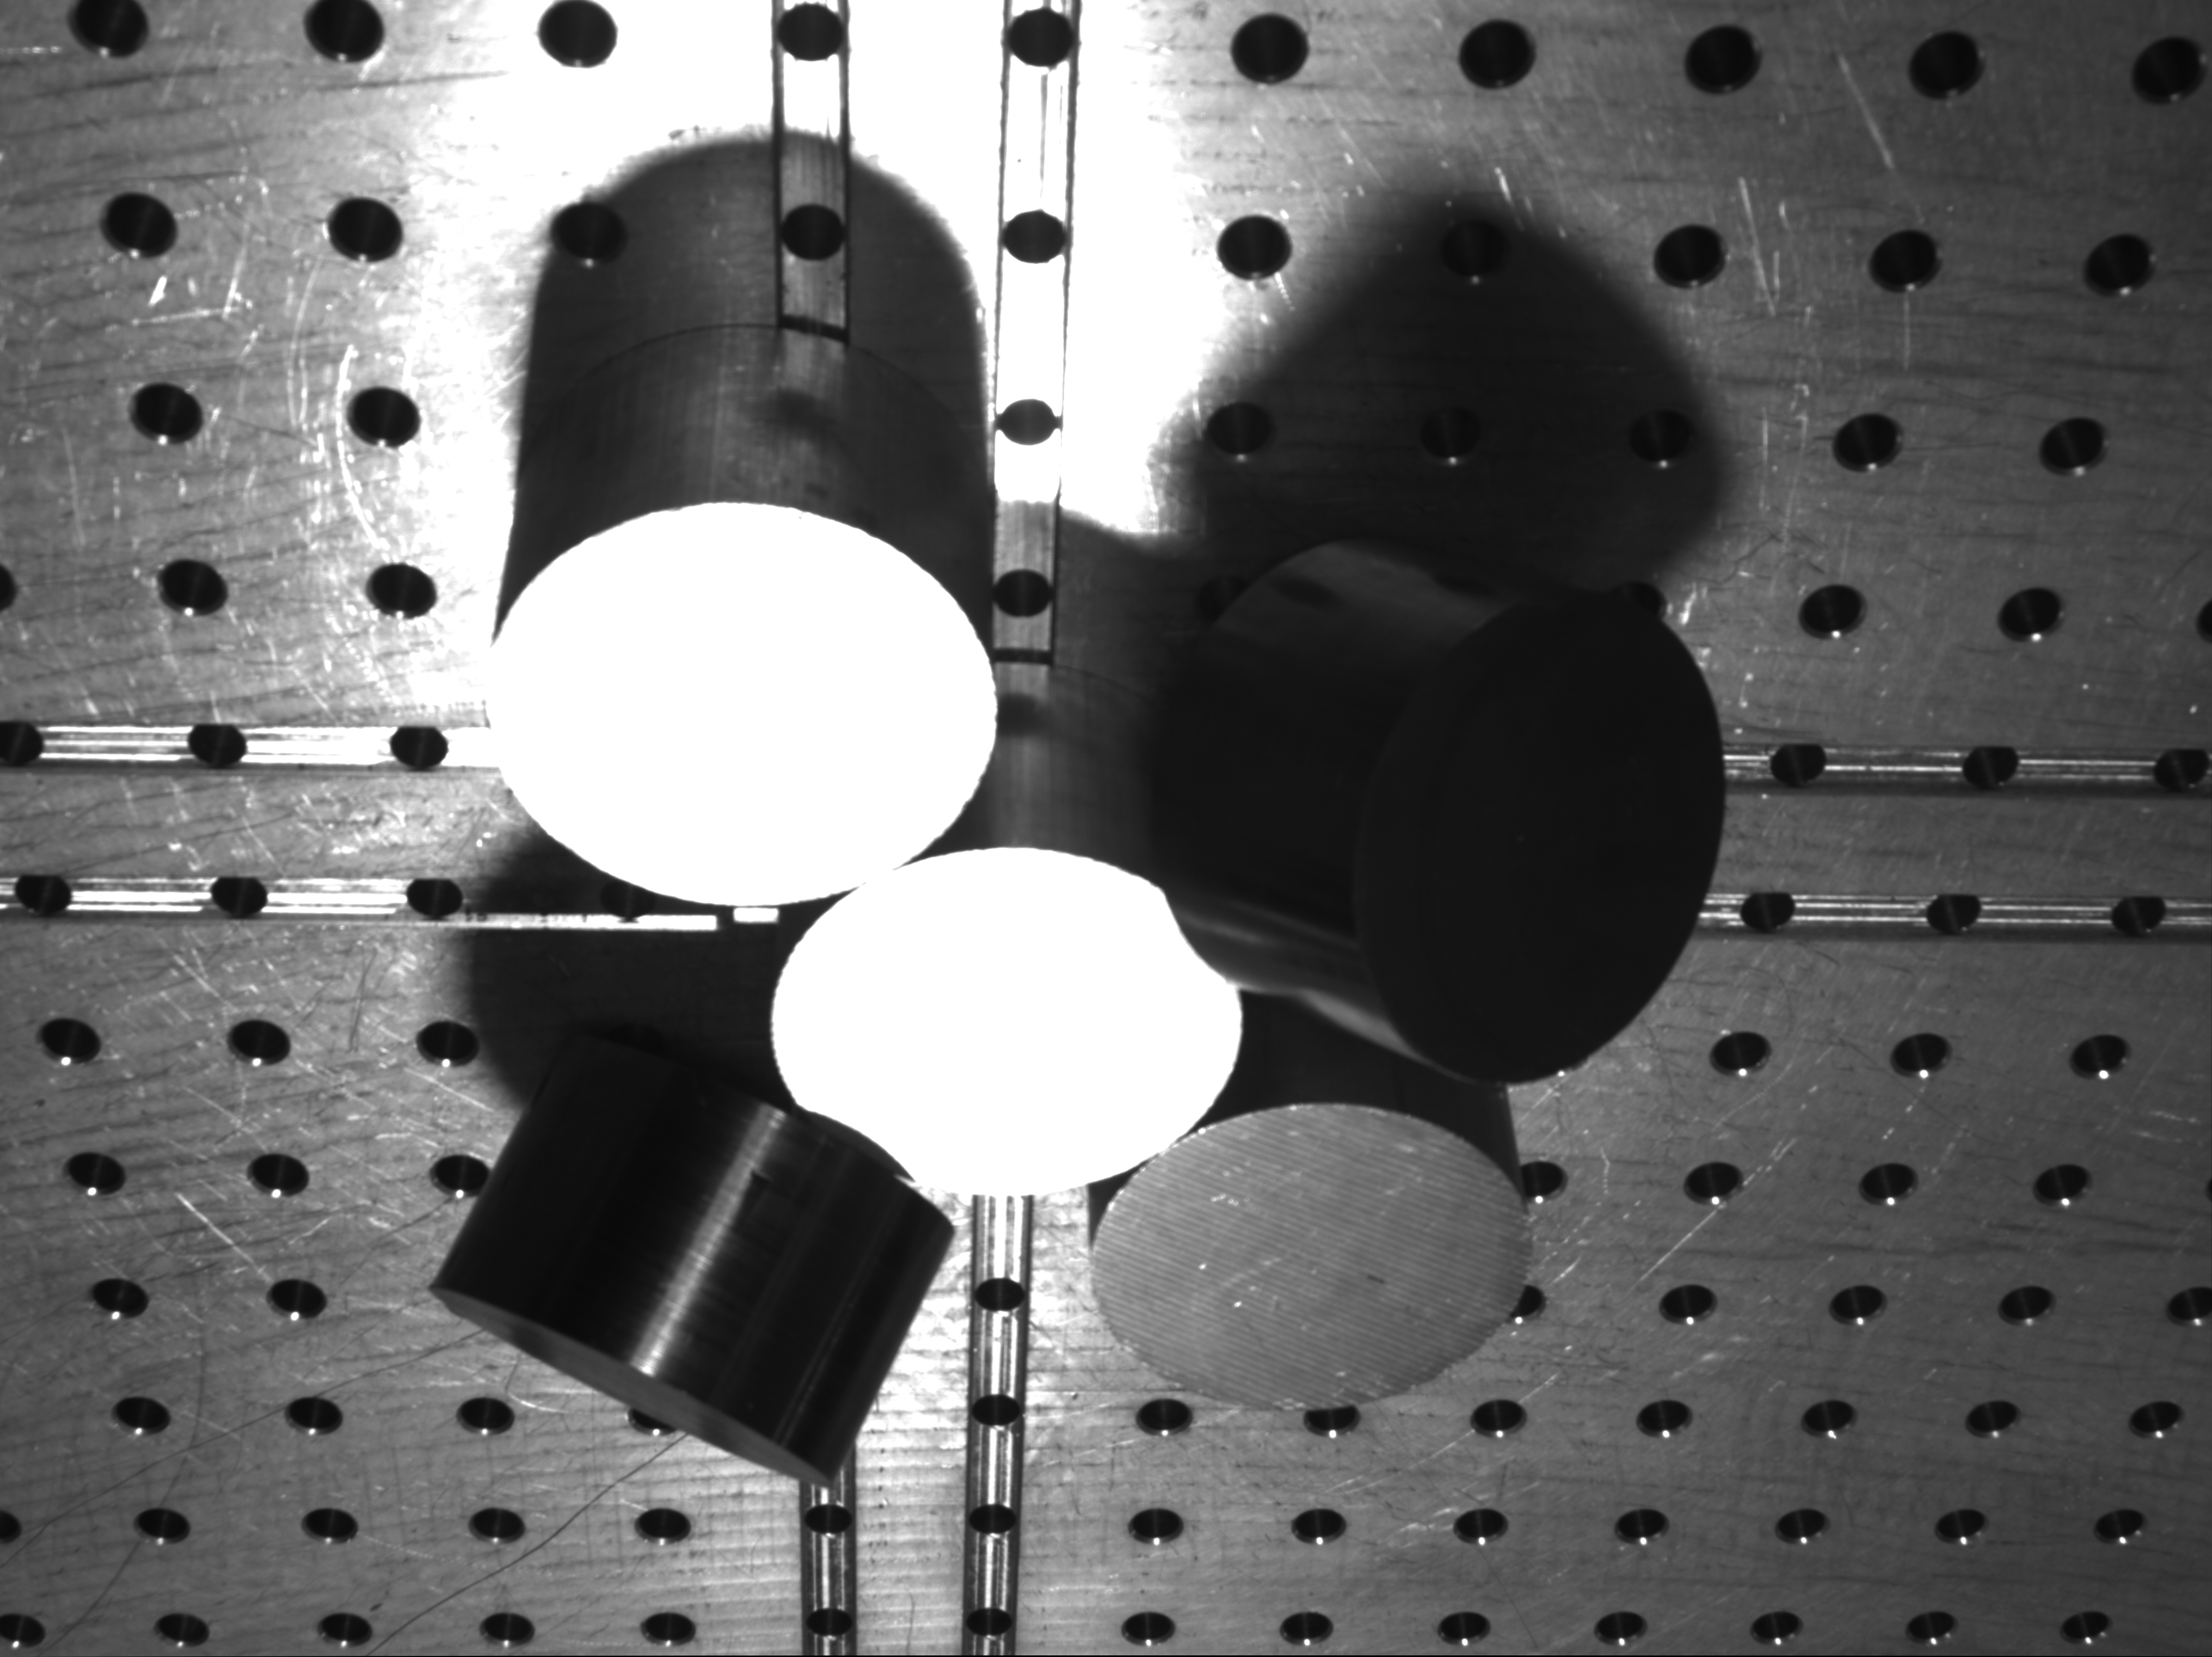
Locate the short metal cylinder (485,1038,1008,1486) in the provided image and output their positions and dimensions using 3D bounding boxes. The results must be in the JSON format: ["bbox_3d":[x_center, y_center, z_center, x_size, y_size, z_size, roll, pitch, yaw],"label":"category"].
[{"bbox_3d":[-0.065,0.079,0.662,0.080,0.050,0.080,24,165,7],"label":"short metal cylinder"}]

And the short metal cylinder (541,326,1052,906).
[{"bbox_3d":[-0.049,-0.034,0.595,0.080,0.050,0.080,-1,130,-1],"label":"short metal cylinder"}]

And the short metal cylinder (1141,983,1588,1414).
[{"bbox_3d":[0.046,0.063,0.679,0.080,0.050,0.080,-1,130,-1],"label":"short metal cylinder"}]

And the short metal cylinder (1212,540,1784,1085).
[{"bbox_3d":[0.064,-0.003,0.598,0.080,0.050,0.080,-11,109,-35],"label":"short metal cylinder"}]

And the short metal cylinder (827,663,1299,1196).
[{"bbox_3d":[-0.008,0.018,0.640,0.080,0.050,0.080,-1,130,-1],"label":"short metal cylinder"}]
